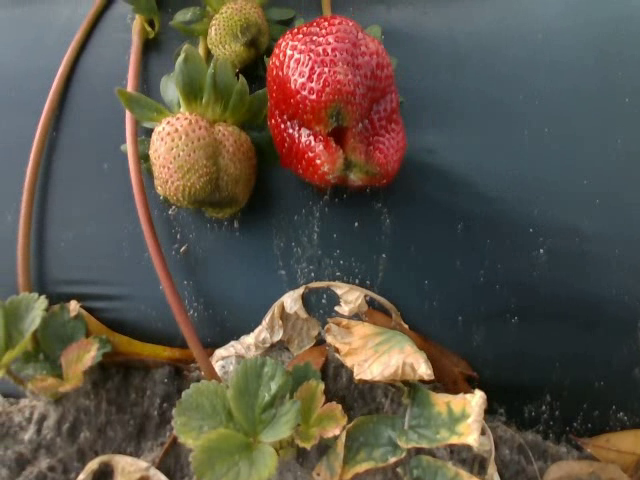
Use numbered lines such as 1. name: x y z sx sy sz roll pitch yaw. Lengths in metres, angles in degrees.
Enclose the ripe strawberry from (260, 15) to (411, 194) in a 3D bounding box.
1. ripe strawberry: 0.003 -0.048 0.197 0.066 0.075 0.053 -13 -6 0
